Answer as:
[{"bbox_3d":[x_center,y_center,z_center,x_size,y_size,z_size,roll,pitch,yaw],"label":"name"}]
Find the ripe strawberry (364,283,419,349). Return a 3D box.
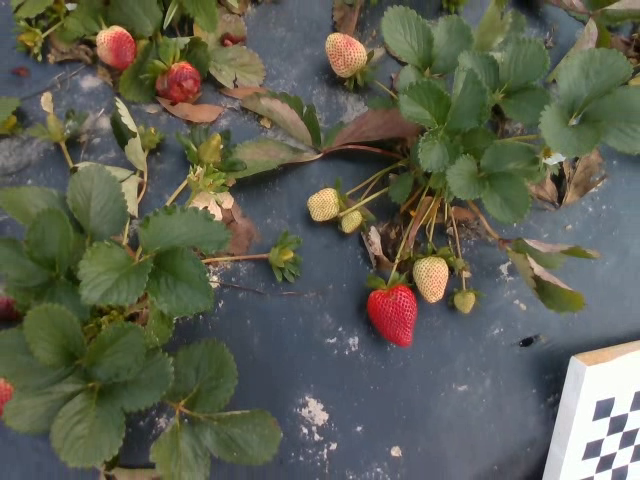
[{"bbox_3d":[0.064,0.063,0.516,0.050,0.059,0.034,-16,-23,-12],"label":"ripe strawberry"}]
